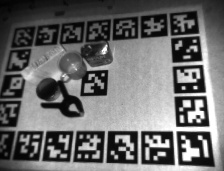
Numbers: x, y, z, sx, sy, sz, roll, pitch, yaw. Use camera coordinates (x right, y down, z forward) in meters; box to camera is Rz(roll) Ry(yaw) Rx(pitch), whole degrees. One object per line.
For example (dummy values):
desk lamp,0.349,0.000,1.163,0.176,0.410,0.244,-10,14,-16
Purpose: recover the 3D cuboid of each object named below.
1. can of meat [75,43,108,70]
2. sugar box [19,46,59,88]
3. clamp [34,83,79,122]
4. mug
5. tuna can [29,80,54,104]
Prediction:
can of meat,-0.071,-0.104,0.792,0.101,0.084,0.057,-10,69,7
sugar box,-0.262,-0.064,0.813,0.176,0.093,0.045,-38,66,-3
clamp,-0.188,0.077,0.782,0.164,0.037,0.122,34,77,15
mug,-0.172,-0.054,0.788,0.092,0.082,0.117,23,80,18
tuna can,-0.263,0.026,0.808,0.085,0.034,0.085,-3,73,11
